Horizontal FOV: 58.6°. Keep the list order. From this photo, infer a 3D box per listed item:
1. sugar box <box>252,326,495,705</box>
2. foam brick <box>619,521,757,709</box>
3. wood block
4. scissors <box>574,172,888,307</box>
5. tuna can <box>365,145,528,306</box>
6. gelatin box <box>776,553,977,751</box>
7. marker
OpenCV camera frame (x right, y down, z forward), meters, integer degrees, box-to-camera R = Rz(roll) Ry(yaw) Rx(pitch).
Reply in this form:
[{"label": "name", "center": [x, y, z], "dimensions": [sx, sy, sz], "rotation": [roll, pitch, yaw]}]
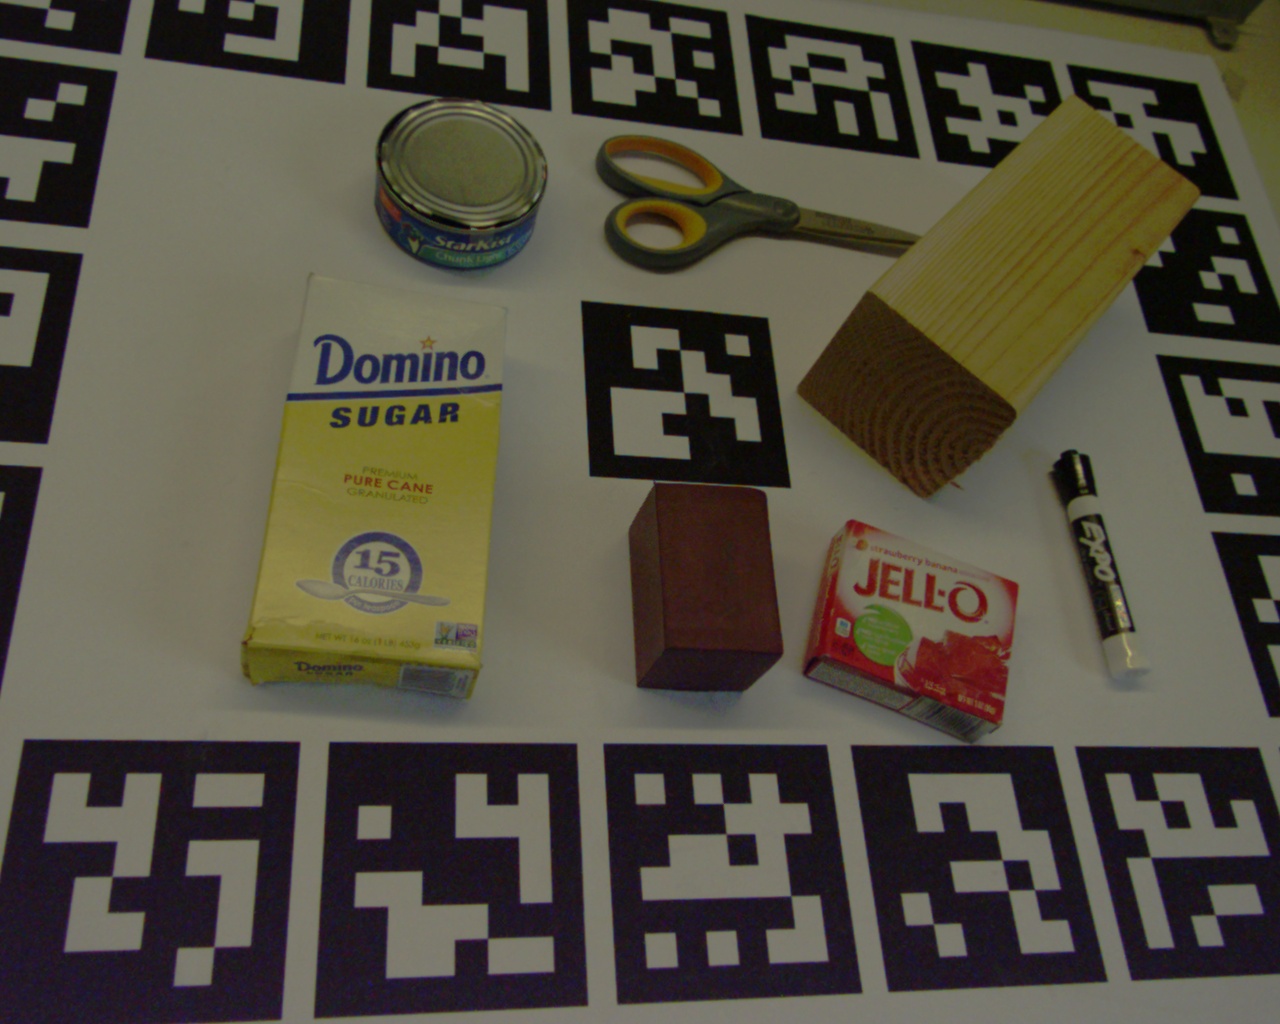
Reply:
[{"label": "sugar box", "center": [-0.121, -0.001, 0.537], "dimensions": [0.092, 0.045, 0.177], "rotation": [7, 64, -12]}, {"label": "foam brick", "center": [0.021, 0.050, 0.539], "dimensions": [0.052, 0.051, 0.078], "rotation": [4, 65, -12]}, {"label": "wood block", "center": [0.184, -0.098, 0.635], "dimensions": [0.090, 0.091, 0.205], "rotation": [42, 62, 8]}, {"label": "scissors", "center": [0.059, -0.147, 0.666], "dimensions": [0.202, 0.016, 0.088], "rotation": [9, 64, -7]}, {"label": "tuna can", "center": [-0.105, -0.153, 0.615], "dimensions": [0.085, 0.034, 0.086], "rotation": [5, 65, -12]}, {"label": "gelatin box", "center": [0.118, 0.069, 0.570], "dimensions": [0.089, 0.030, 0.073], "rotation": [20, 63, -4]}, {"label": "marker", "center": [0.221, 0.039, 0.614], "dimensions": [0.019, 0.020, 0.121], "rotation": [4, 67, -13]}]
